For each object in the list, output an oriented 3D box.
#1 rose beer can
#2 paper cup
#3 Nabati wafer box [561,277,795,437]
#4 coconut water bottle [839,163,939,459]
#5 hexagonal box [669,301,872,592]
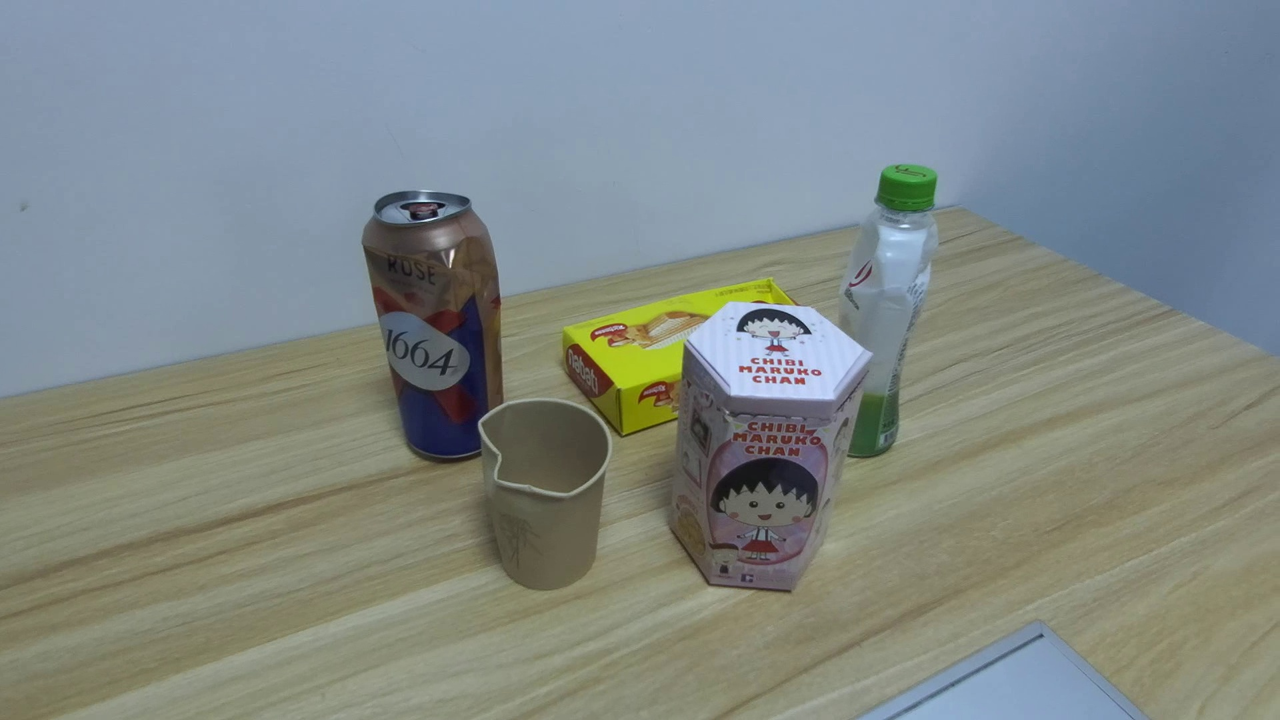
[{"bbox_3d":[-0.124,-0.019,0.445,0.075,0.167,0.065,25,39,33],"label":"rose beer can"},{"bbox_3d":[-0.051,0.075,0.384,0.073,0.081,0.069,8,34,8],"label":"paper cup"},{"bbox_3d":[0.051,-0.012,0.547,0.204,0.042,0.096,-16,35,-24],"label":"Nabati wafer box"},{"bbox_3d":[0.152,-0.028,0.446,0.067,0.187,0.067,0,34,0],"label":"coconut water bottle"},{"bbox_3d":[0.065,0.049,0.377,0.091,0.136,0.084,3,34,4],"label":"hexagonal box"}]
